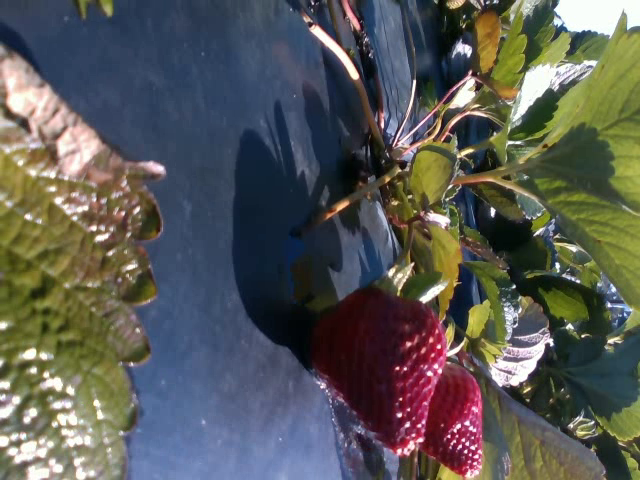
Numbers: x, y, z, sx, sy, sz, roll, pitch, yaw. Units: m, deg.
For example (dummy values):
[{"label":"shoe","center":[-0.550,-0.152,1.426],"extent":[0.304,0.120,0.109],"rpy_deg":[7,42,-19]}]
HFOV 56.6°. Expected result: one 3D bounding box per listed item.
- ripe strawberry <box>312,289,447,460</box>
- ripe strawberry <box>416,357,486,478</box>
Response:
[{"label":"ripe strawberry","center":[0.019,0.040,0.169],"extent":[0.044,0.050,0.050],"rpy_deg":[-15,-43,-2]},{"label":"ripe strawberry","center":[0.048,0.071,0.228],"extent":[0.042,0.049,0.039],"rpy_deg":[-8,-26,-36]}]
